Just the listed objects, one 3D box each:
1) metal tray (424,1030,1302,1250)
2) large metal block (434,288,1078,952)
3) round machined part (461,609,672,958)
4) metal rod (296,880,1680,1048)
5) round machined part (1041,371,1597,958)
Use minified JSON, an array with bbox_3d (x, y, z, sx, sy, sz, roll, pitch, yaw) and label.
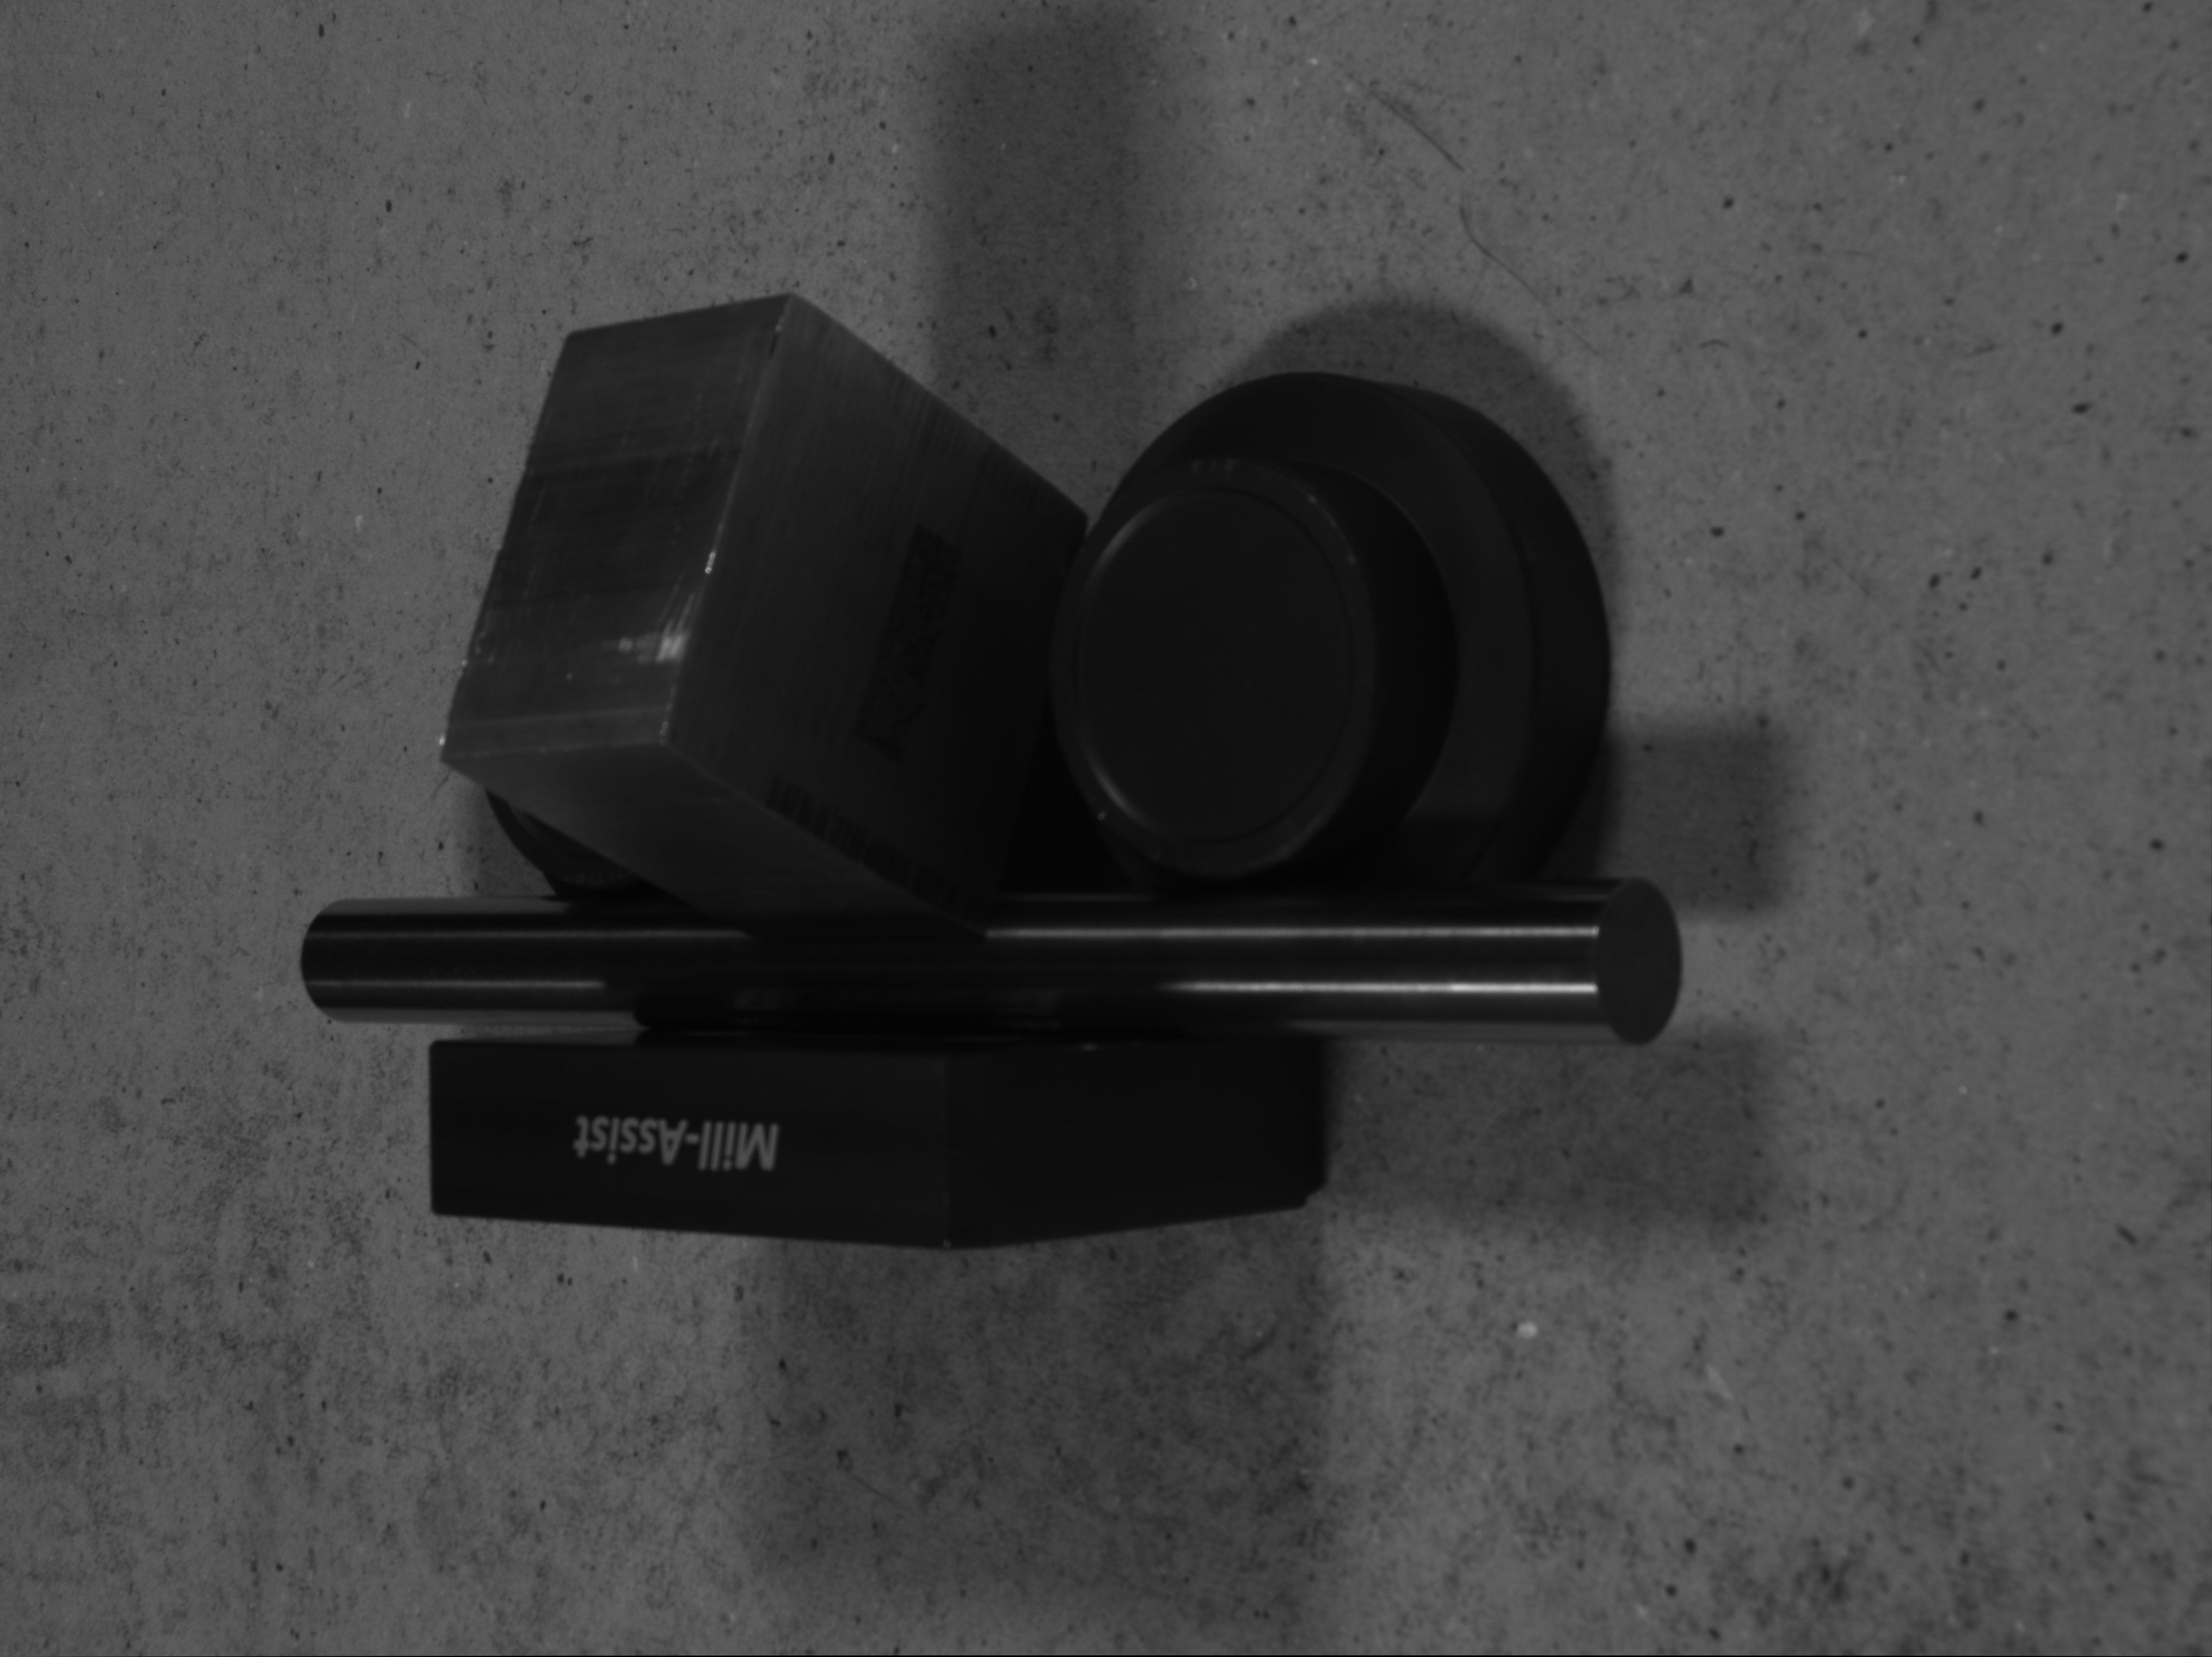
[{"bbox_3d":[-0.043,0.051,0.629,0.130,0.090,0.030,-2,89,39],"label":"metal tray"},{"bbox_3d":[-0.056,-0.032,0.612,0.050,0.080,0.080,-3,64,39],"label":"large metal block"},{"bbox_3d":[-0.084,-0.022,0.692,0.098,0.042,0.098,0,90,39],"label":"round machined part"},{"bbox_3d":[-0.037,0.024,0.640,0.299,0.025,0.025,-2,89,39],"label":"metal rod"},{"bbox_3d":[0.028,-0.026,0.601,0.098,0.042,0.098,0,90,39],"label":"round machined part"}]
